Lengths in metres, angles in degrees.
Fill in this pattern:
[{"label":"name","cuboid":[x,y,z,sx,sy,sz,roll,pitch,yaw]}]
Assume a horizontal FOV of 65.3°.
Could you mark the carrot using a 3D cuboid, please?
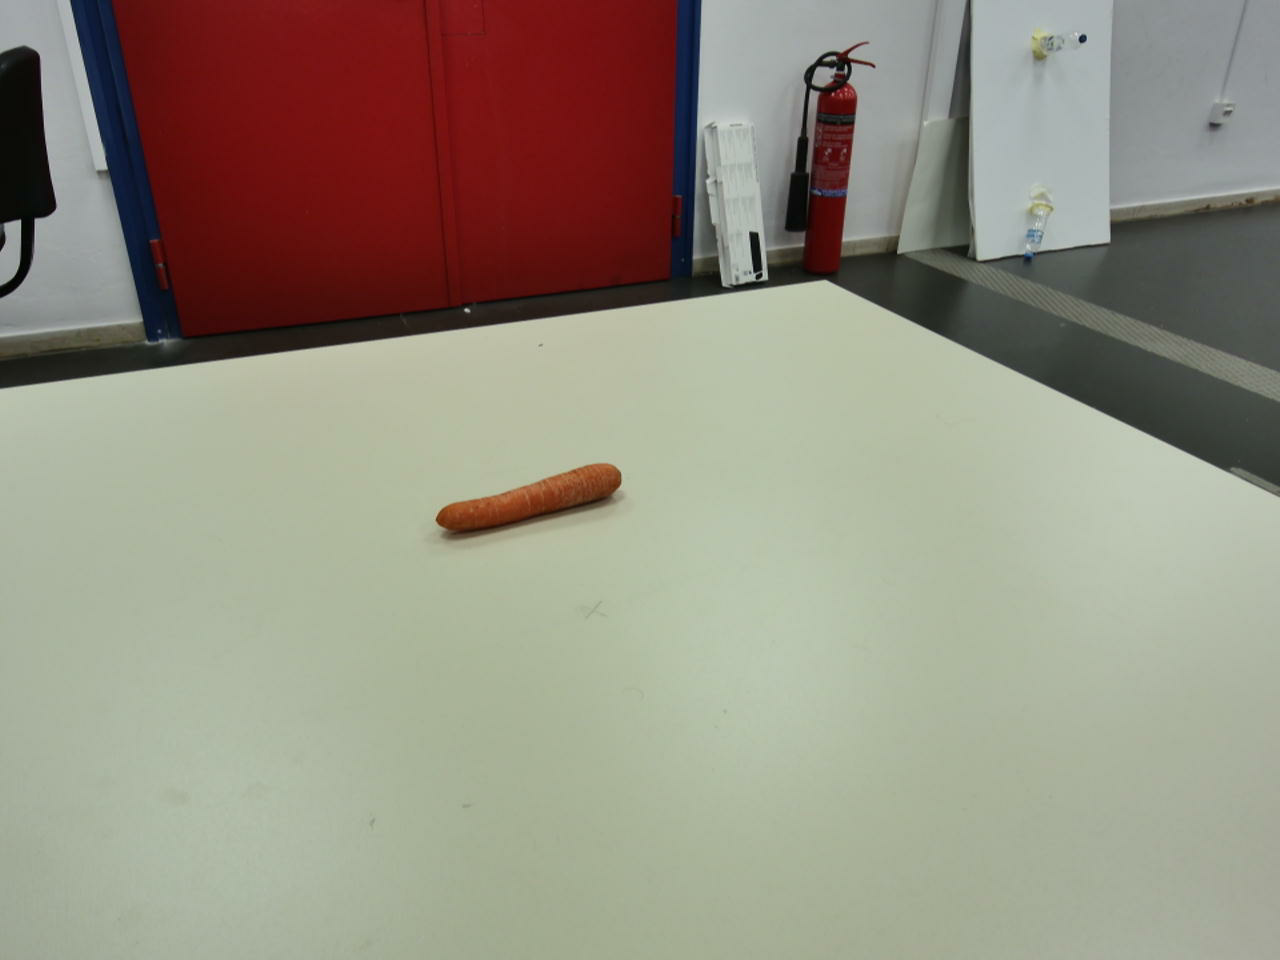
[{"label":"carrot","cuboid":[-0.066,0.010,0.621,0.122,0.023,0.024,-13,29,-24]}]
